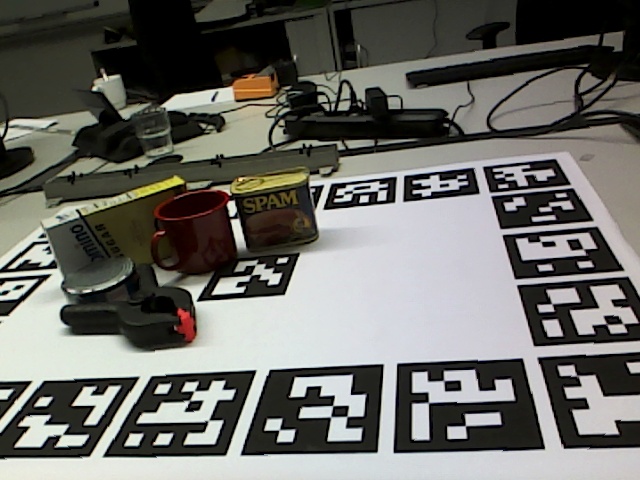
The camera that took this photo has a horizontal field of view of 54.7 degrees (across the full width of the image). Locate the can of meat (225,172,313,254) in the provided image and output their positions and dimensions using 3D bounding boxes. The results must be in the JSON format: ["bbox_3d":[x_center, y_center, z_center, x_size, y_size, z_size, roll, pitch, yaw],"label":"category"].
[{"bbox_3d":[-0.062,-0.034,0.787,0.102,0.083,0.058,-7,25,4],"label":"can of meat"}]

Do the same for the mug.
[{"bbox_3d":[-0.168,-0.010,0.761,0.094,0.081,0.117,10,35,33],"label":"mug"}]

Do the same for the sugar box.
[{"bbox_3d":[-0.256,-0.008,0.795,0.176,0.092,0.045,-21,27,-23],"label":"sugar box"}]

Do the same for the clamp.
[{"bbox_3d":[-0.199,0.079,0.668,0.166,0.036,0.121,21,36,39],"label":"clamp"}]

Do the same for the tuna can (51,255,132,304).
[{"bbox_3d":[-0.268,0.054,0.730,0.086,0.033,0.086,-9,28,4],"label":"tuna can"}]
